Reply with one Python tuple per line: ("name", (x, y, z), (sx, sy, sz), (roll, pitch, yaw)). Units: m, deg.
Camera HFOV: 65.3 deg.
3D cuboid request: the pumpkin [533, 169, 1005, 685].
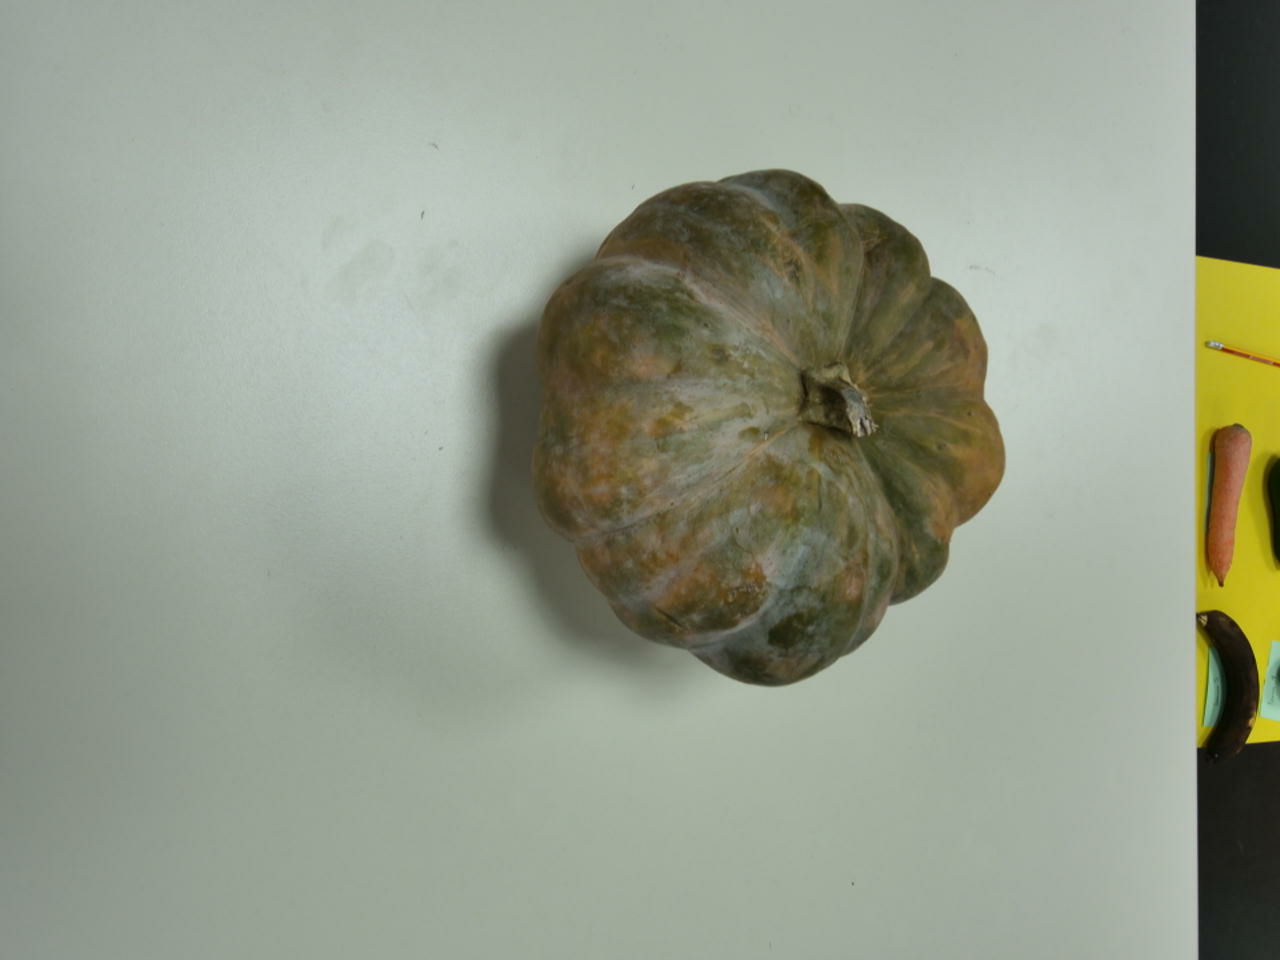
("pumpkin", (0.063, -0.032, 0.506), (0.252, 0.169, 0.252), (0, 91, -22))
